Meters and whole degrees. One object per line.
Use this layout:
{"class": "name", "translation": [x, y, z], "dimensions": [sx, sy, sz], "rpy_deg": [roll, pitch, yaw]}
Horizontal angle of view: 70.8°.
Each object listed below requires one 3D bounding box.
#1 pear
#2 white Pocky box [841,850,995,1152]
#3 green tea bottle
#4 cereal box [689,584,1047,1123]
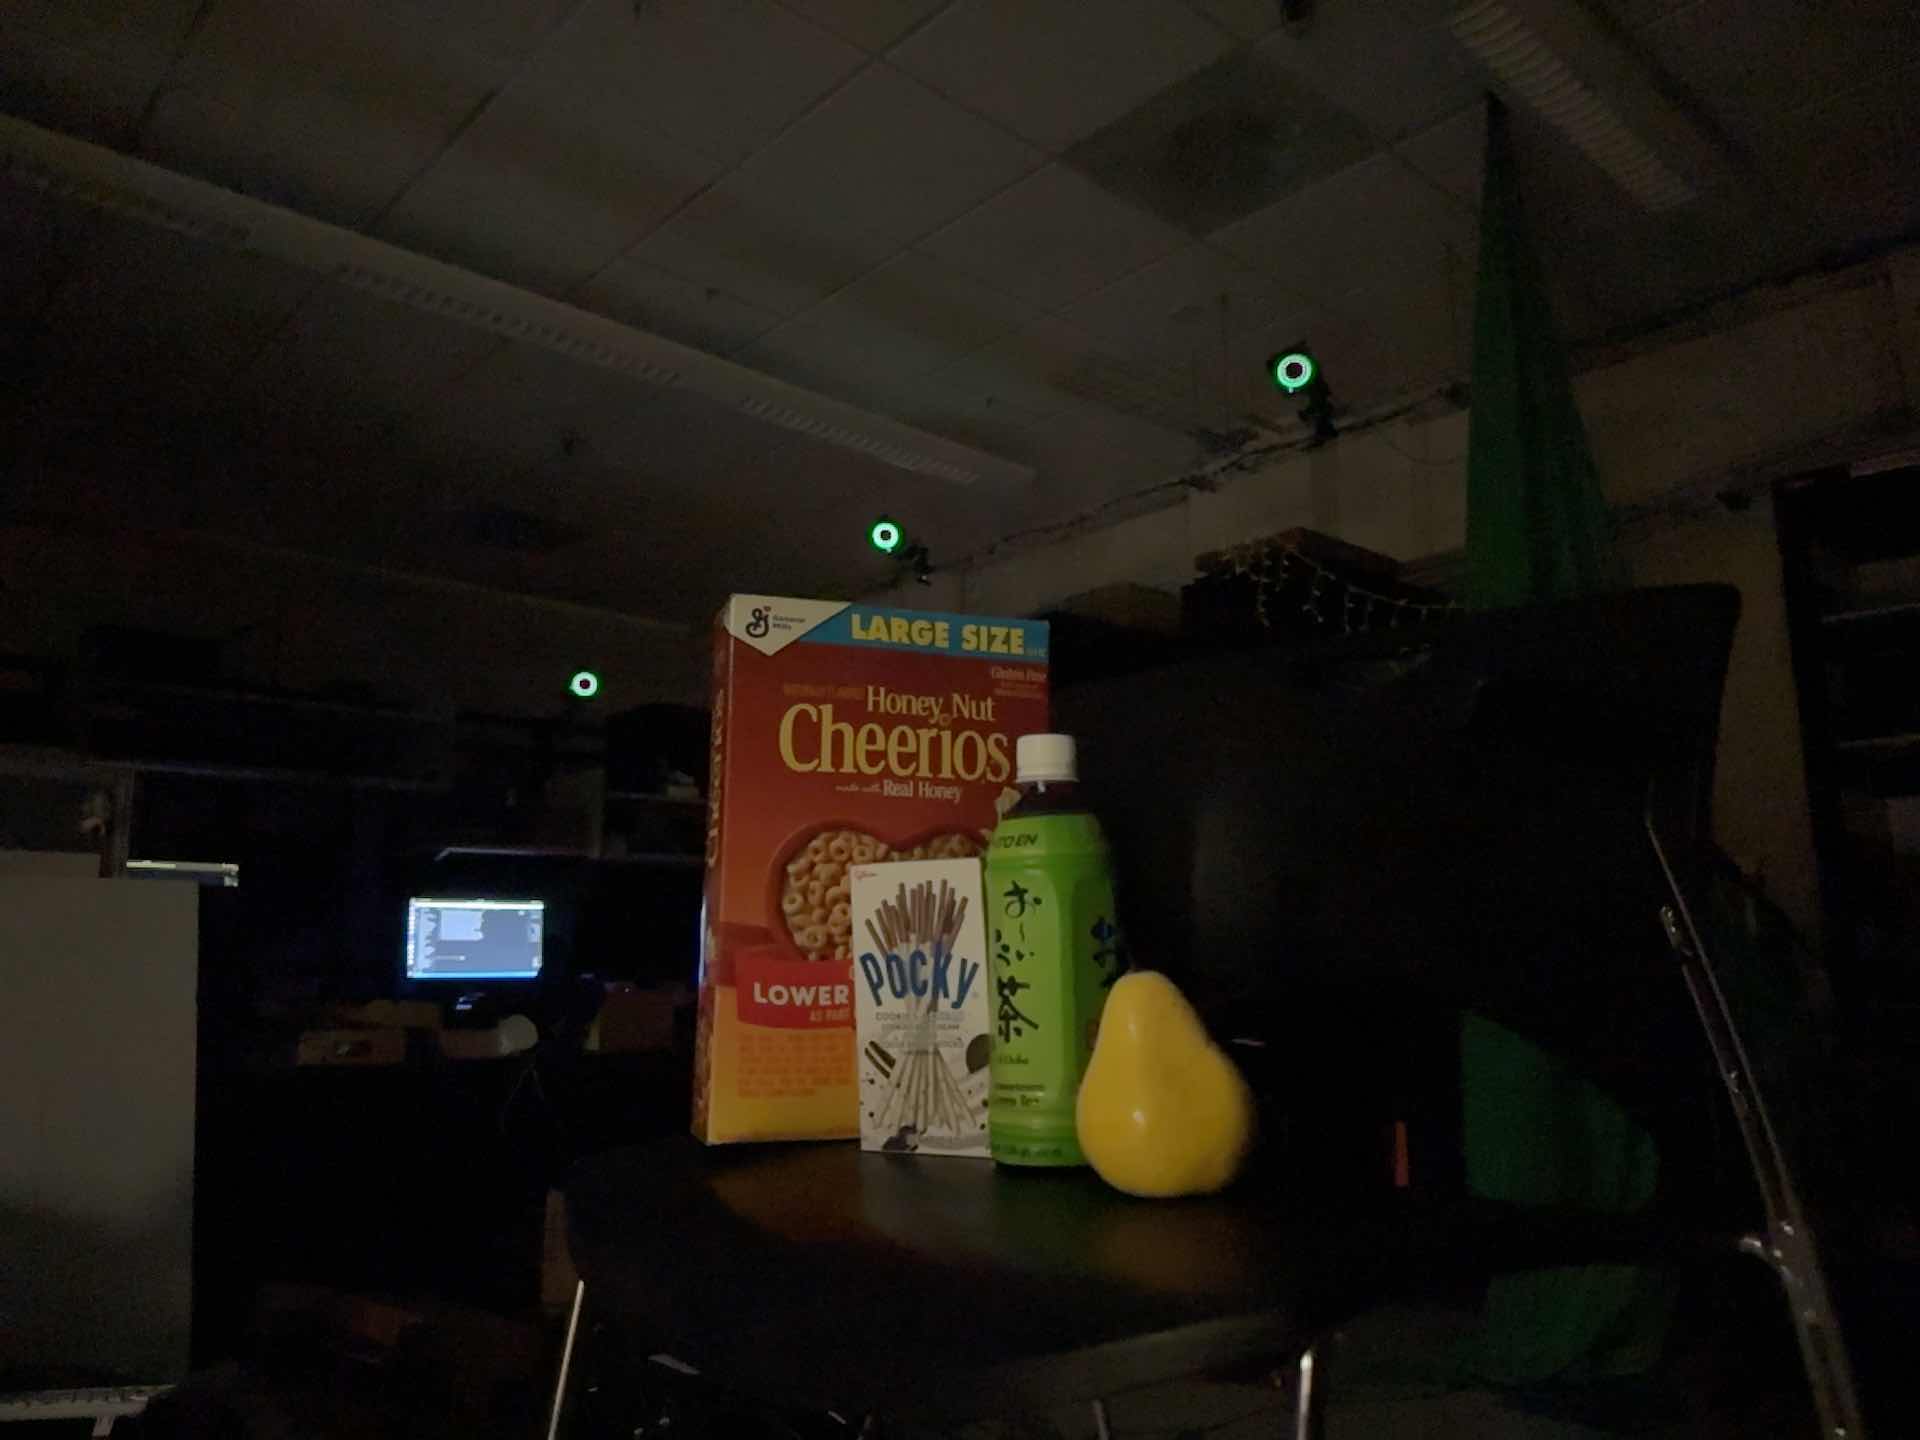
{"class": "pear", "translation": [0.090, 0.150, 0.602], "dimensions": [0.080, 0.111, 0.080], "rpy_deg": [1, -13, 0]}
{"class": "white Pocky box", "translation": [-0.019, 0.148, 0.723], "dimensions": [0.084, 0.154, 0.028], "rpy_deg": [-5, -4, 29]}
{"class": "green tea bottle", "translation": [0.046, 0.110, 0.686], "dimensions": [0.073, 0.212, 0.073], "rpy_deg": [-3, -10, -1]}
{"class": "cereal box", "translation": [-0.053, 0.079, 0.815], "dimensions": [0.195, 0.297, 0.065], "rpy_deg": [5, -8, -21]}
